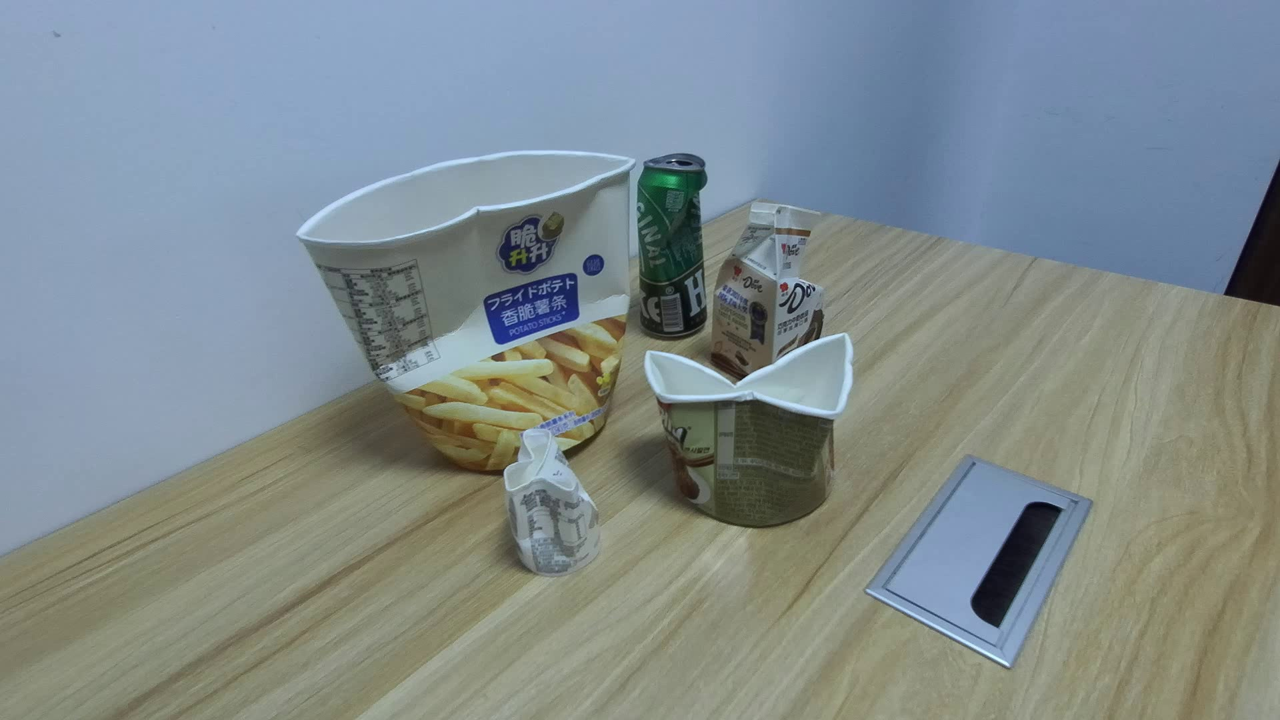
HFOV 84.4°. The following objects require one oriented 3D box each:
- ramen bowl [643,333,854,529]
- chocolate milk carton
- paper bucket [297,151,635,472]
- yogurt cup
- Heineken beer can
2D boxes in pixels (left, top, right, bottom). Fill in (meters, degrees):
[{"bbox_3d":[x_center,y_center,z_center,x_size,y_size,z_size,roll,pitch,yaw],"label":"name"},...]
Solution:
[{"bbox_3d":[0.071,0.039,0.474,0.128,0.093,0.111,5,33,13],"label":"ramen bowl"},{"bbox_3d":[0.110,-0.061,0.583,0.076,0.156,0.073,-26,40,-33],"label":"chocolate milk carton"},{"bbox_3d":[-0.098,-0.037,0.524,0.147,0.199,0.218,11,34,21],"label":"paper bucket"},{"bbox_3d":[-0.056,0.088,0.433,0.055,0.072,0.055,0,32,10],"label":"yogurt cup"},{"bbox_3d":[0.029,-0.102,0.653,0.078,0.164,0.066,-10,31,-17],"label":"Heineken beer can"}]
